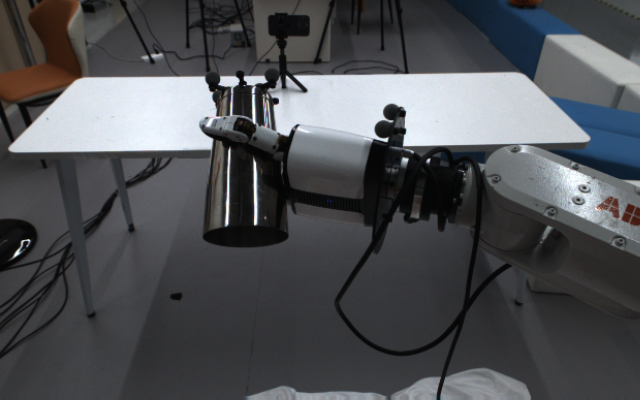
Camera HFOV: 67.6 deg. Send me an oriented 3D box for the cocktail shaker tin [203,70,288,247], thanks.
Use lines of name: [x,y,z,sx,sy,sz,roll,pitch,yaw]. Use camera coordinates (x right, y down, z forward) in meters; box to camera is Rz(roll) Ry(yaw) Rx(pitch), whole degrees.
cocktail shaker tin: [-0.084,-0.039,0.546,0.093,0.093,0.170,-2,70,-5]
